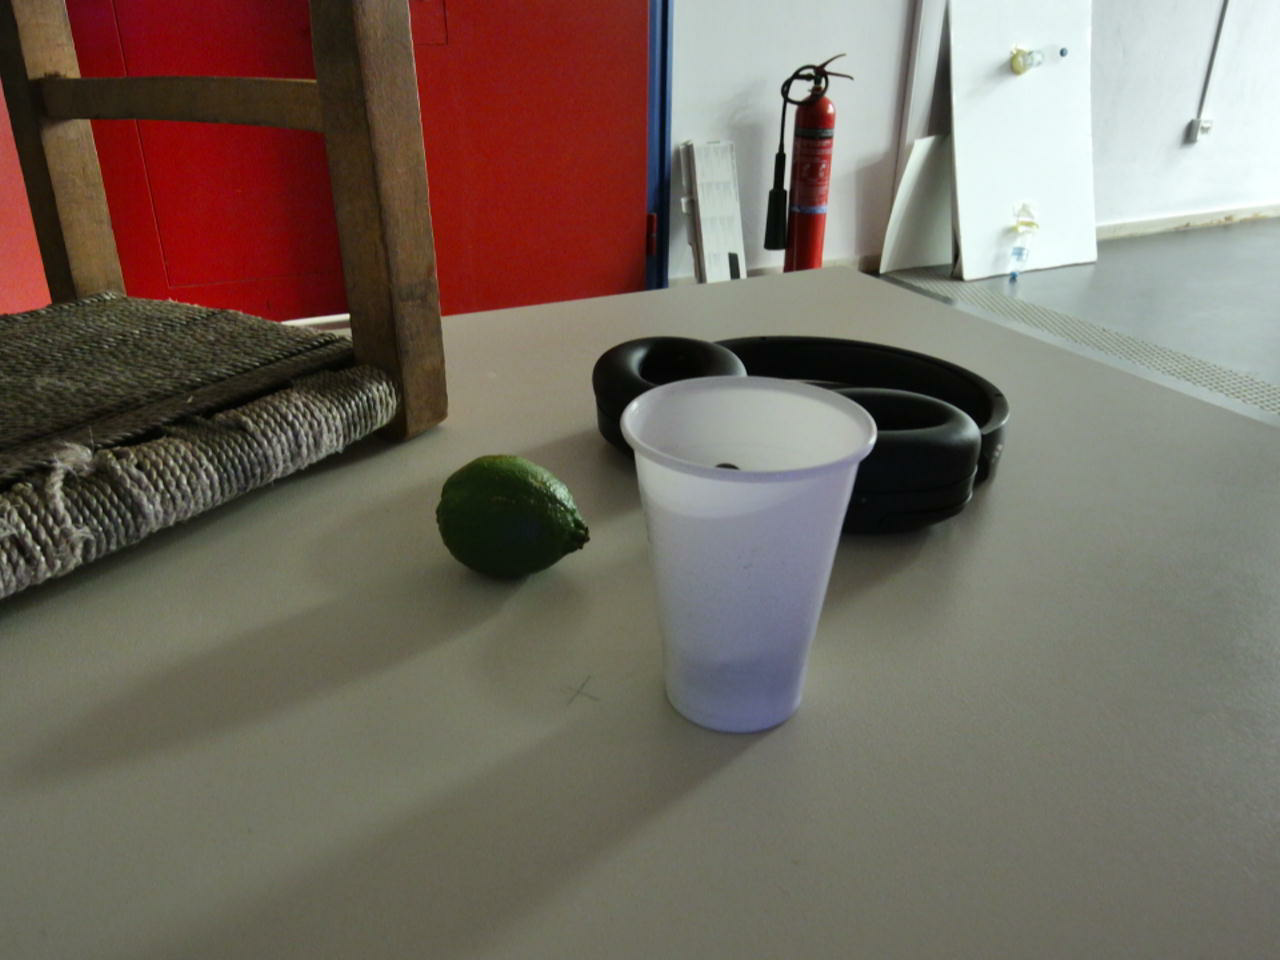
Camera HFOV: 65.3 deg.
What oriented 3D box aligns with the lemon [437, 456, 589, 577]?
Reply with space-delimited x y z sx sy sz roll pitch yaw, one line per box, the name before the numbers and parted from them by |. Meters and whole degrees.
lemon | -0.056 0.015 0.420 0.057 0.051 0.054 -13 27 -27
